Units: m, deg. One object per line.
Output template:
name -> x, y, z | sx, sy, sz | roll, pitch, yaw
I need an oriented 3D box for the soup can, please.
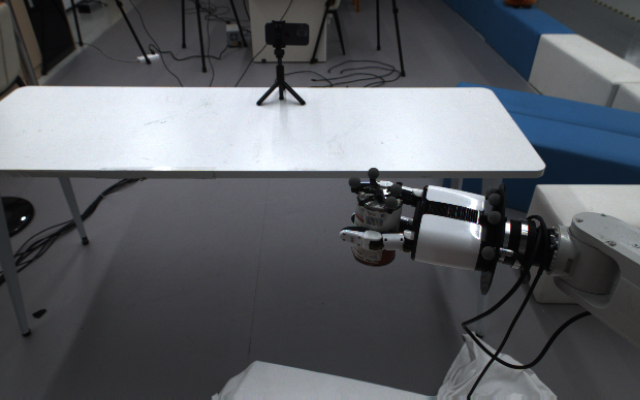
soup can -> 0.085, 0.038, 0.715 | 0.067, 0.101, 0.067 | 2, 32, -1
